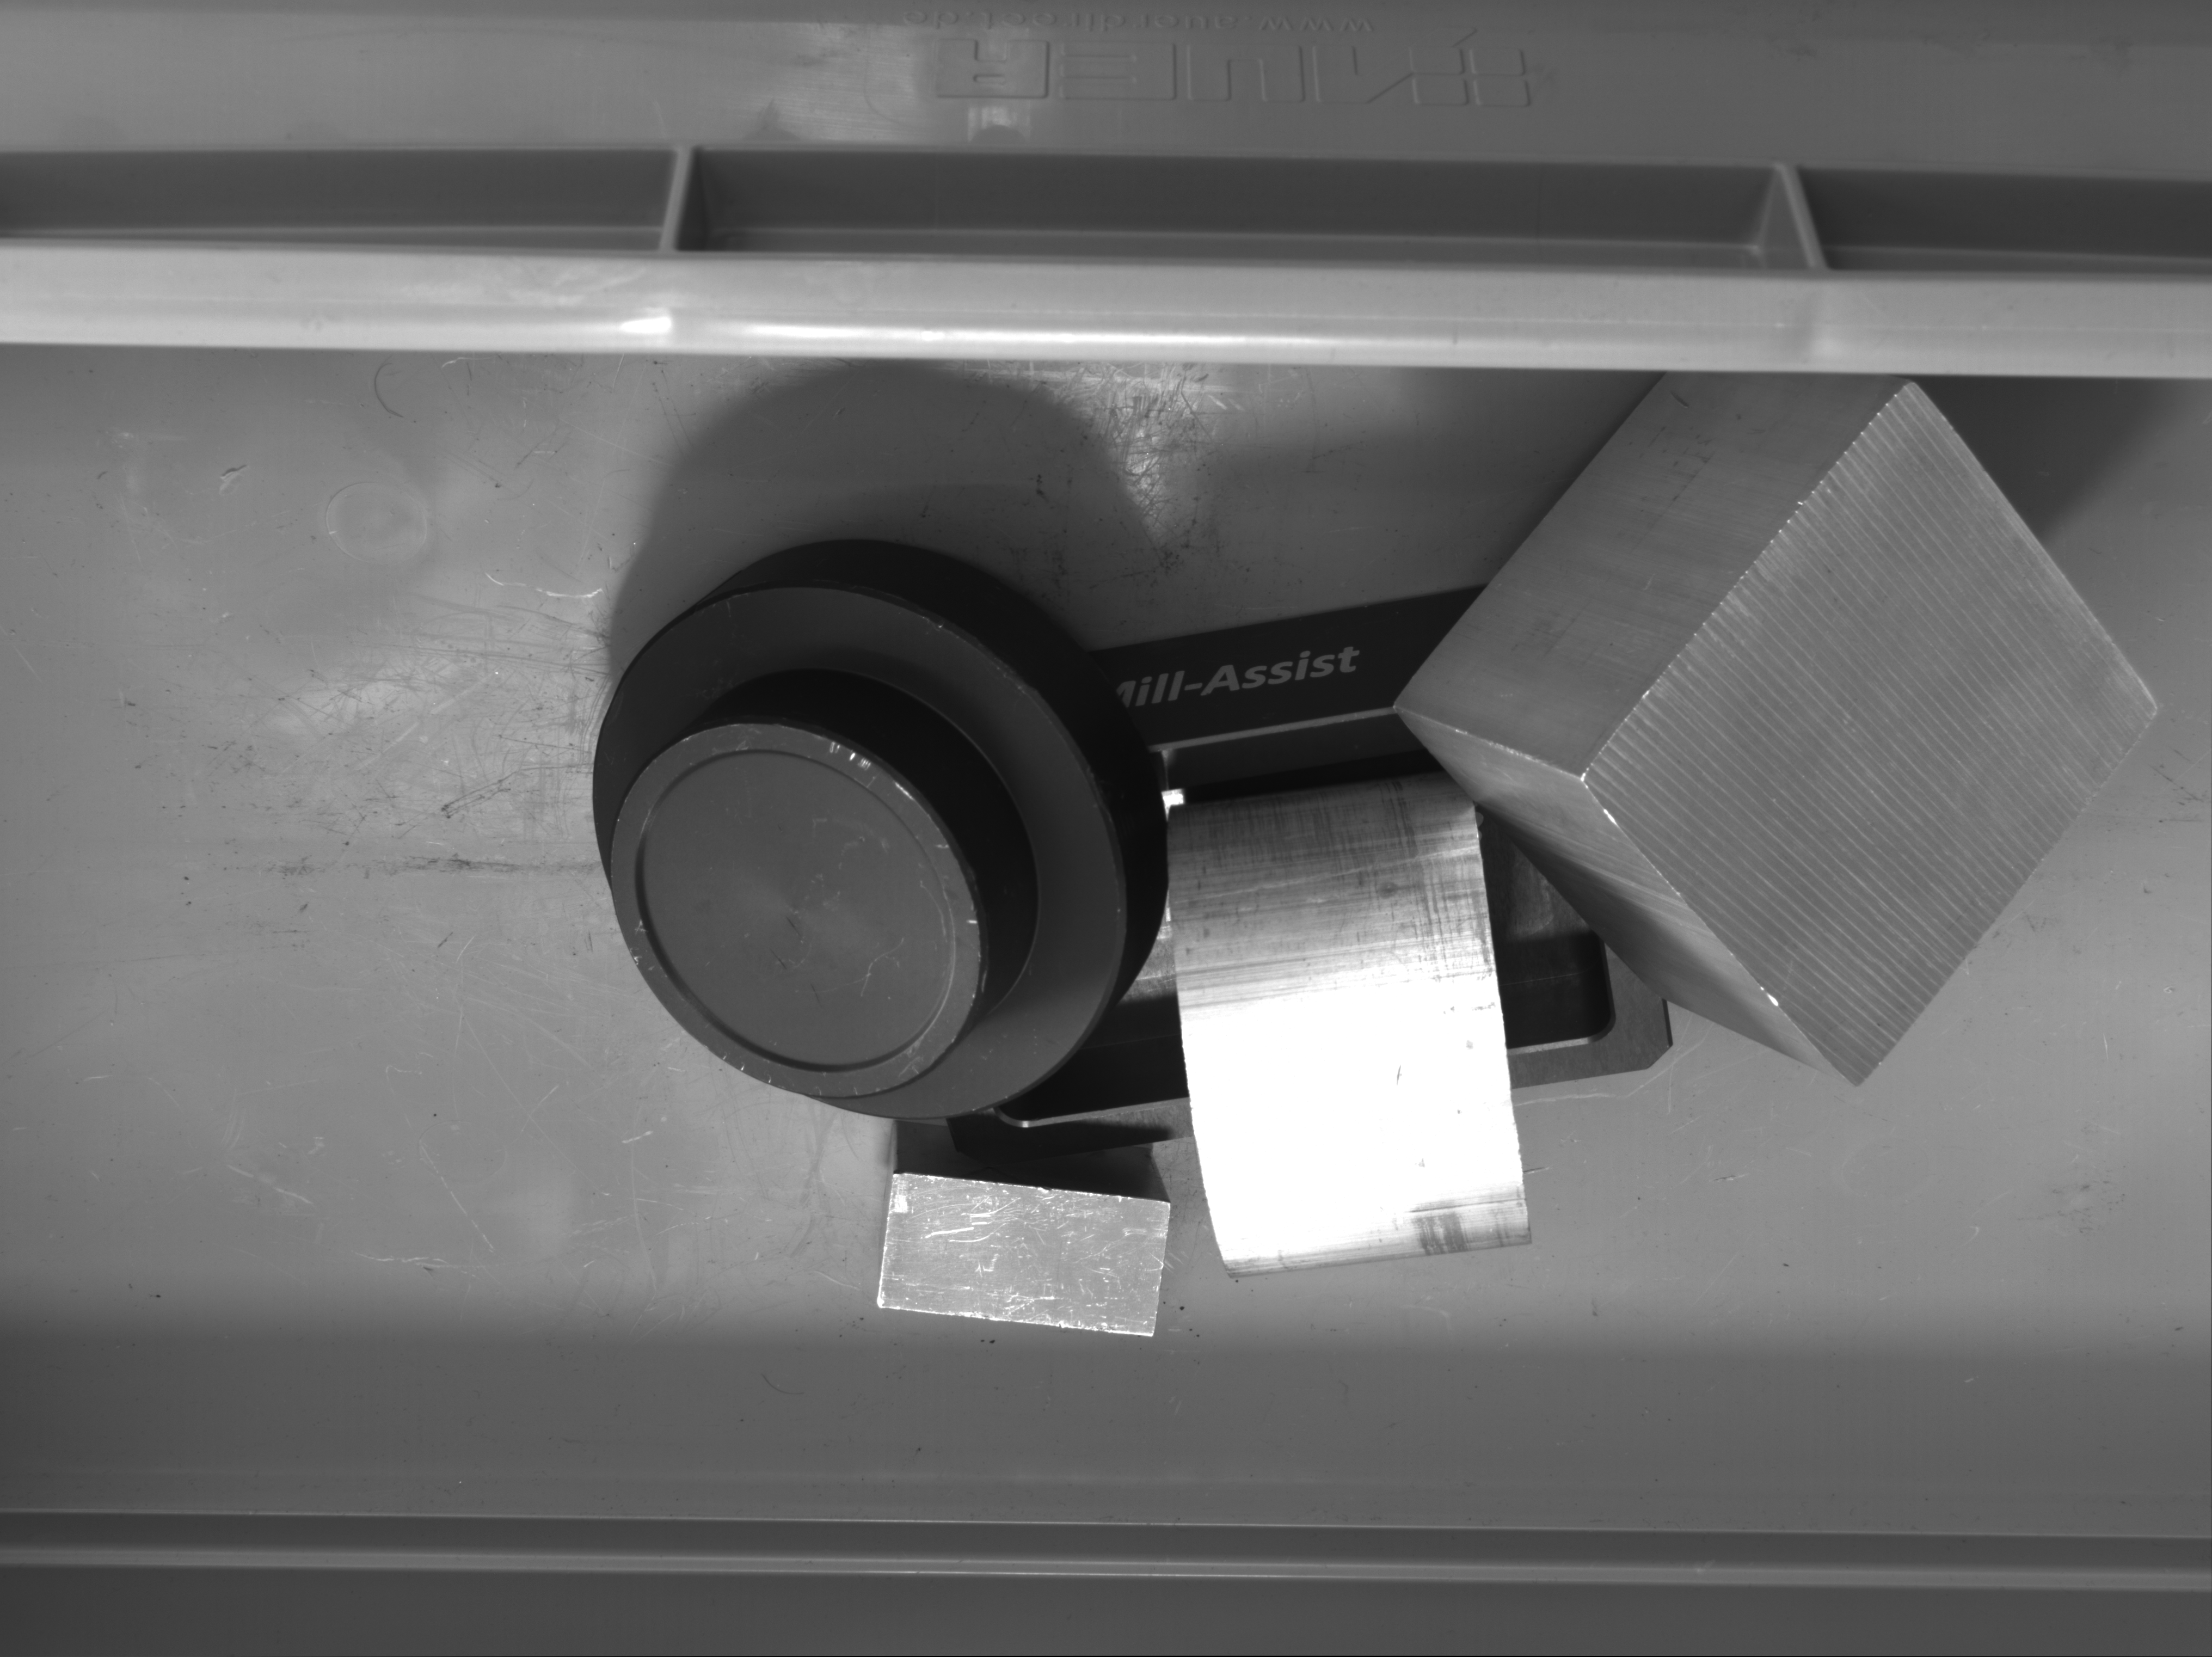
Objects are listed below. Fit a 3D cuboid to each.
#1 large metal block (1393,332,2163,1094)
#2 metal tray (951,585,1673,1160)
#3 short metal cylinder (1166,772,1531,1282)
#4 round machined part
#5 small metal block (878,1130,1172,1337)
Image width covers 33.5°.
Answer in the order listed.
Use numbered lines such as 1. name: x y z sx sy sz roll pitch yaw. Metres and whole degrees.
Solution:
1. large metal block: 0.107 -0.019 0.580 0.080 0.050 0.080 -51 121 -8
2. metal tray: 0.029 0.009 0.644 0.130 0.030 0.090 -9 129 7
3. short metal cylinder: 0.041 0.033 0.614 0.050 0.080 0.080 -7 130 5
4. round machined part: -0.042 0.006 0.607 0.098 0.042 0.098 10 117 21
5. small metal block: -0.016 0.074 0.680 0.050 0.050 0.025 6 95 -4
